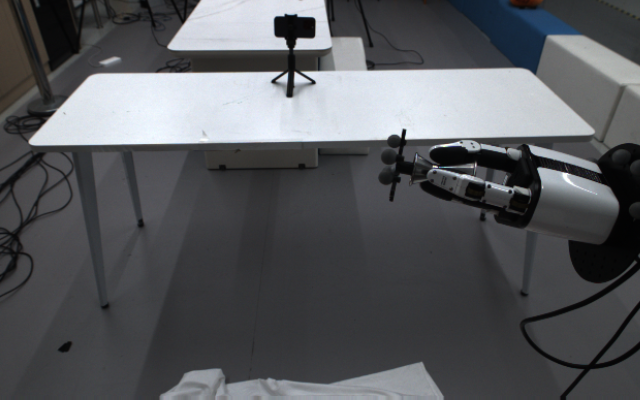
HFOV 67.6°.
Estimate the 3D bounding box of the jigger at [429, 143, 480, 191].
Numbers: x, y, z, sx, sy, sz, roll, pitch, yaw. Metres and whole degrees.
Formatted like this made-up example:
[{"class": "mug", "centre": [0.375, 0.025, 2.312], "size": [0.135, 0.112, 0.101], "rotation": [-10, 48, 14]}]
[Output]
[{"class": "jigger", "centre": [0.147, -0.035, 0.561], "size": [0.071, 0.043, 0.043], "rotation": [10, 35, 9]}]
